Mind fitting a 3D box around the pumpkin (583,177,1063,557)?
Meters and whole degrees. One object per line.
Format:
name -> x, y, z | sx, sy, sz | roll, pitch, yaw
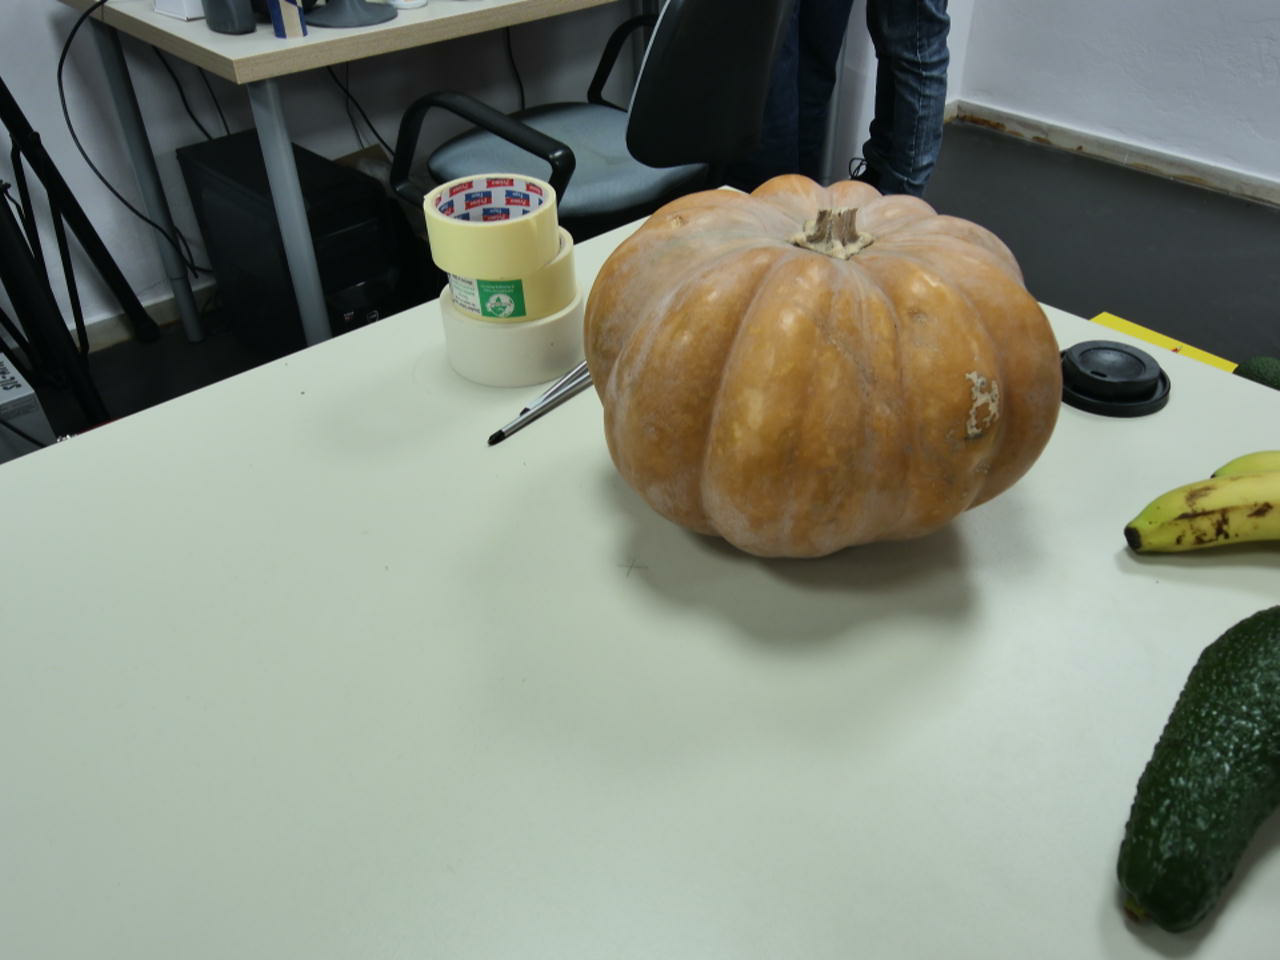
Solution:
pumpkin -> 0.098, -0.071, 0.580 | 0.277, 0.181, 0.277 | 0, 37, 0
